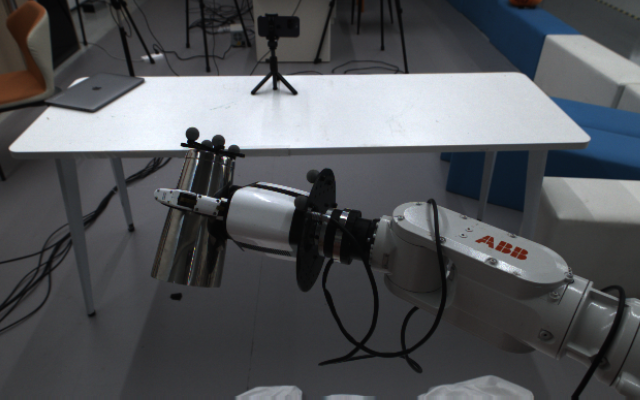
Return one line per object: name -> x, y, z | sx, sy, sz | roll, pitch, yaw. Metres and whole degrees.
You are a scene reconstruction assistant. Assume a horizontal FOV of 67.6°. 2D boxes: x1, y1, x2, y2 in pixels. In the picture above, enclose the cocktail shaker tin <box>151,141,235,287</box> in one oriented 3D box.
cocktail shaker tin -> -0.161, 0.025, 0.646 | 0.093, 0.170, 0.093 | 10, -5, 1
